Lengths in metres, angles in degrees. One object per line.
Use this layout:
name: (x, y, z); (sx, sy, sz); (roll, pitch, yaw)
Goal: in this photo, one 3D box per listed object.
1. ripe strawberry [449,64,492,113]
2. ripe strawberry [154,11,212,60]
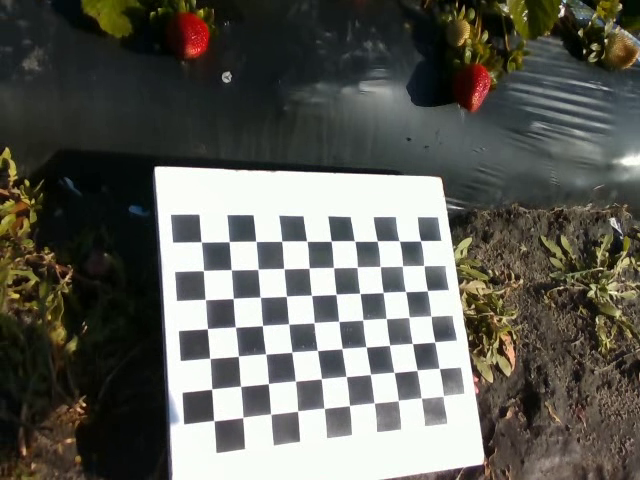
ripe strawberry: (0.141, -0.140, 0.714); (0.042, 0.059, 0.042); (24, -35, -22)
ripe strawberry: (-0.112, -0.169, 0.636); (0.045, 0.042, 0.055); (10, 40, -28)
